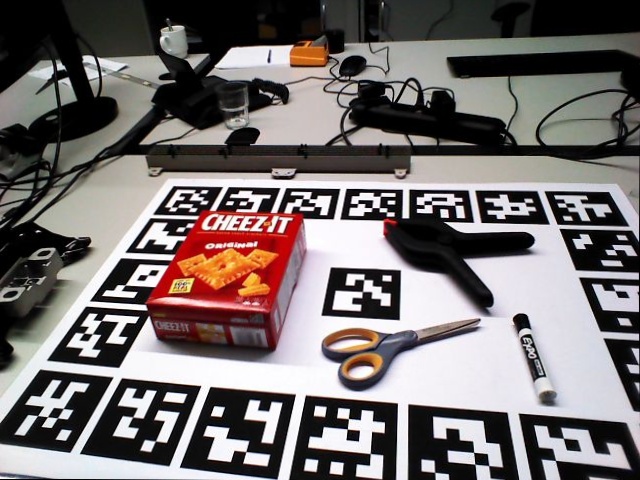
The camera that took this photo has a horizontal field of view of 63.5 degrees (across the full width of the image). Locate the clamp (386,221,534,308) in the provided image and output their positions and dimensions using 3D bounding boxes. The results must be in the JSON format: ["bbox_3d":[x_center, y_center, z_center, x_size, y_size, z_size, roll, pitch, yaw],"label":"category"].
[{"bbox_3d":[0.183,0.014,0.758,0.204,0.037,0.164,22,43,33],"label":"clamp"}]

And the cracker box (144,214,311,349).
[{"bbox_3d":[-0.115,0.045,0.707,0.165,0.072,0.212,2,36,11],"label":"cracker box"}]

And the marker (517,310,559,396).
[{"bbox_3d":[0.244,0.122,0.584,0.020,0.020,0.120,-1,35,7],"label":"marker"}]

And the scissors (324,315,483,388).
[{"bbox_3d":[0.104,0.117,0.615,0.202,0.016,0.087,-14,34,-15],"label":"scissors"}]
